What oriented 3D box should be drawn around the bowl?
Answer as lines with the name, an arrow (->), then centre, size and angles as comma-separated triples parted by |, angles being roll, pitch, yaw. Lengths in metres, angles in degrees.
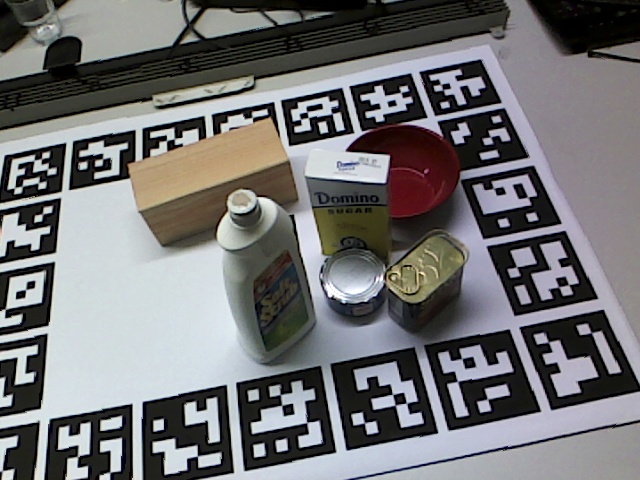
bowl -> 0.112, -0.087, 0.849 | 0.162, 0.055, 0.162 | -7, 55, 9

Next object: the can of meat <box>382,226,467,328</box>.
can of meat -> 0.126, 0.047, 0.742 | 0.101, 0.083, 0.058 | -38, 56, -18

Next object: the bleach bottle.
bleach bottle -> -0.066, 0.038, 0.674 | 0.102, 0.249, 0.068 | -35, 57, -14

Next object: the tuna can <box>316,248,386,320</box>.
tuna can -> 0.040, 0.055, 0.772 | 0.086, 0.033, 0.086 | -4, 59, 6

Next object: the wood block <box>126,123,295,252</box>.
wood block -> -0.150, -0.074, 0.865 | 0.206, 0.089, 0.091 | -20, 59, -6

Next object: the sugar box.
sugar box -> 0.042, -0.038, 0.750 | 0.093, 0.175, 0.045 | 3, 59, 15
